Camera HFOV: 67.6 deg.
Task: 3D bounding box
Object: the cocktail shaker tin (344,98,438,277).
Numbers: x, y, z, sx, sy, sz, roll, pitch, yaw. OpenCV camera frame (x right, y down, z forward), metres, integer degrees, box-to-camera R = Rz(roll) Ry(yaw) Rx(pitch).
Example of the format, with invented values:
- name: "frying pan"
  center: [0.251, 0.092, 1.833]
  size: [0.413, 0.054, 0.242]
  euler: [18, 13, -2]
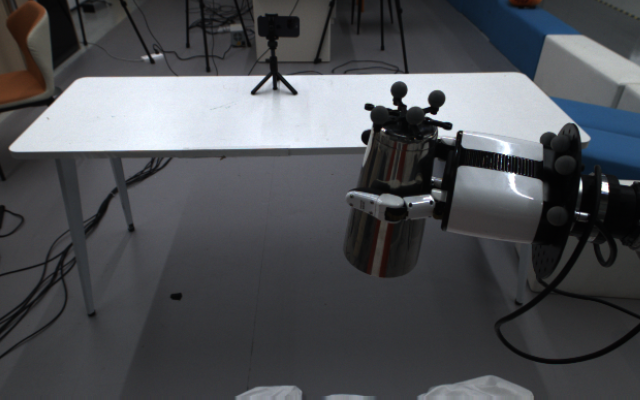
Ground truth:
- name: "cocktail shaker tin"
  center: [0.083, -0.008, 0.535]
  size: [0.093, 0.170, 0.093]
  euler: [4, 36, -3]
